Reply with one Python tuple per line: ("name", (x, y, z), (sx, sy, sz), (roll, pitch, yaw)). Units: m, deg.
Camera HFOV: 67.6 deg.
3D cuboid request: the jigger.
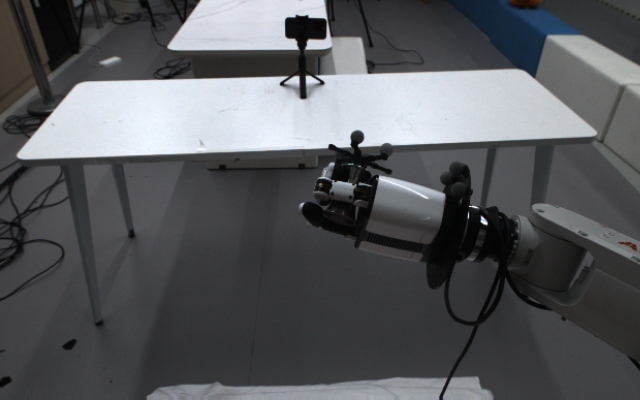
("jigger", (0.036, -0.009, 0.606), (0.043, 0.043, 0.071), (15, 70, 18))
